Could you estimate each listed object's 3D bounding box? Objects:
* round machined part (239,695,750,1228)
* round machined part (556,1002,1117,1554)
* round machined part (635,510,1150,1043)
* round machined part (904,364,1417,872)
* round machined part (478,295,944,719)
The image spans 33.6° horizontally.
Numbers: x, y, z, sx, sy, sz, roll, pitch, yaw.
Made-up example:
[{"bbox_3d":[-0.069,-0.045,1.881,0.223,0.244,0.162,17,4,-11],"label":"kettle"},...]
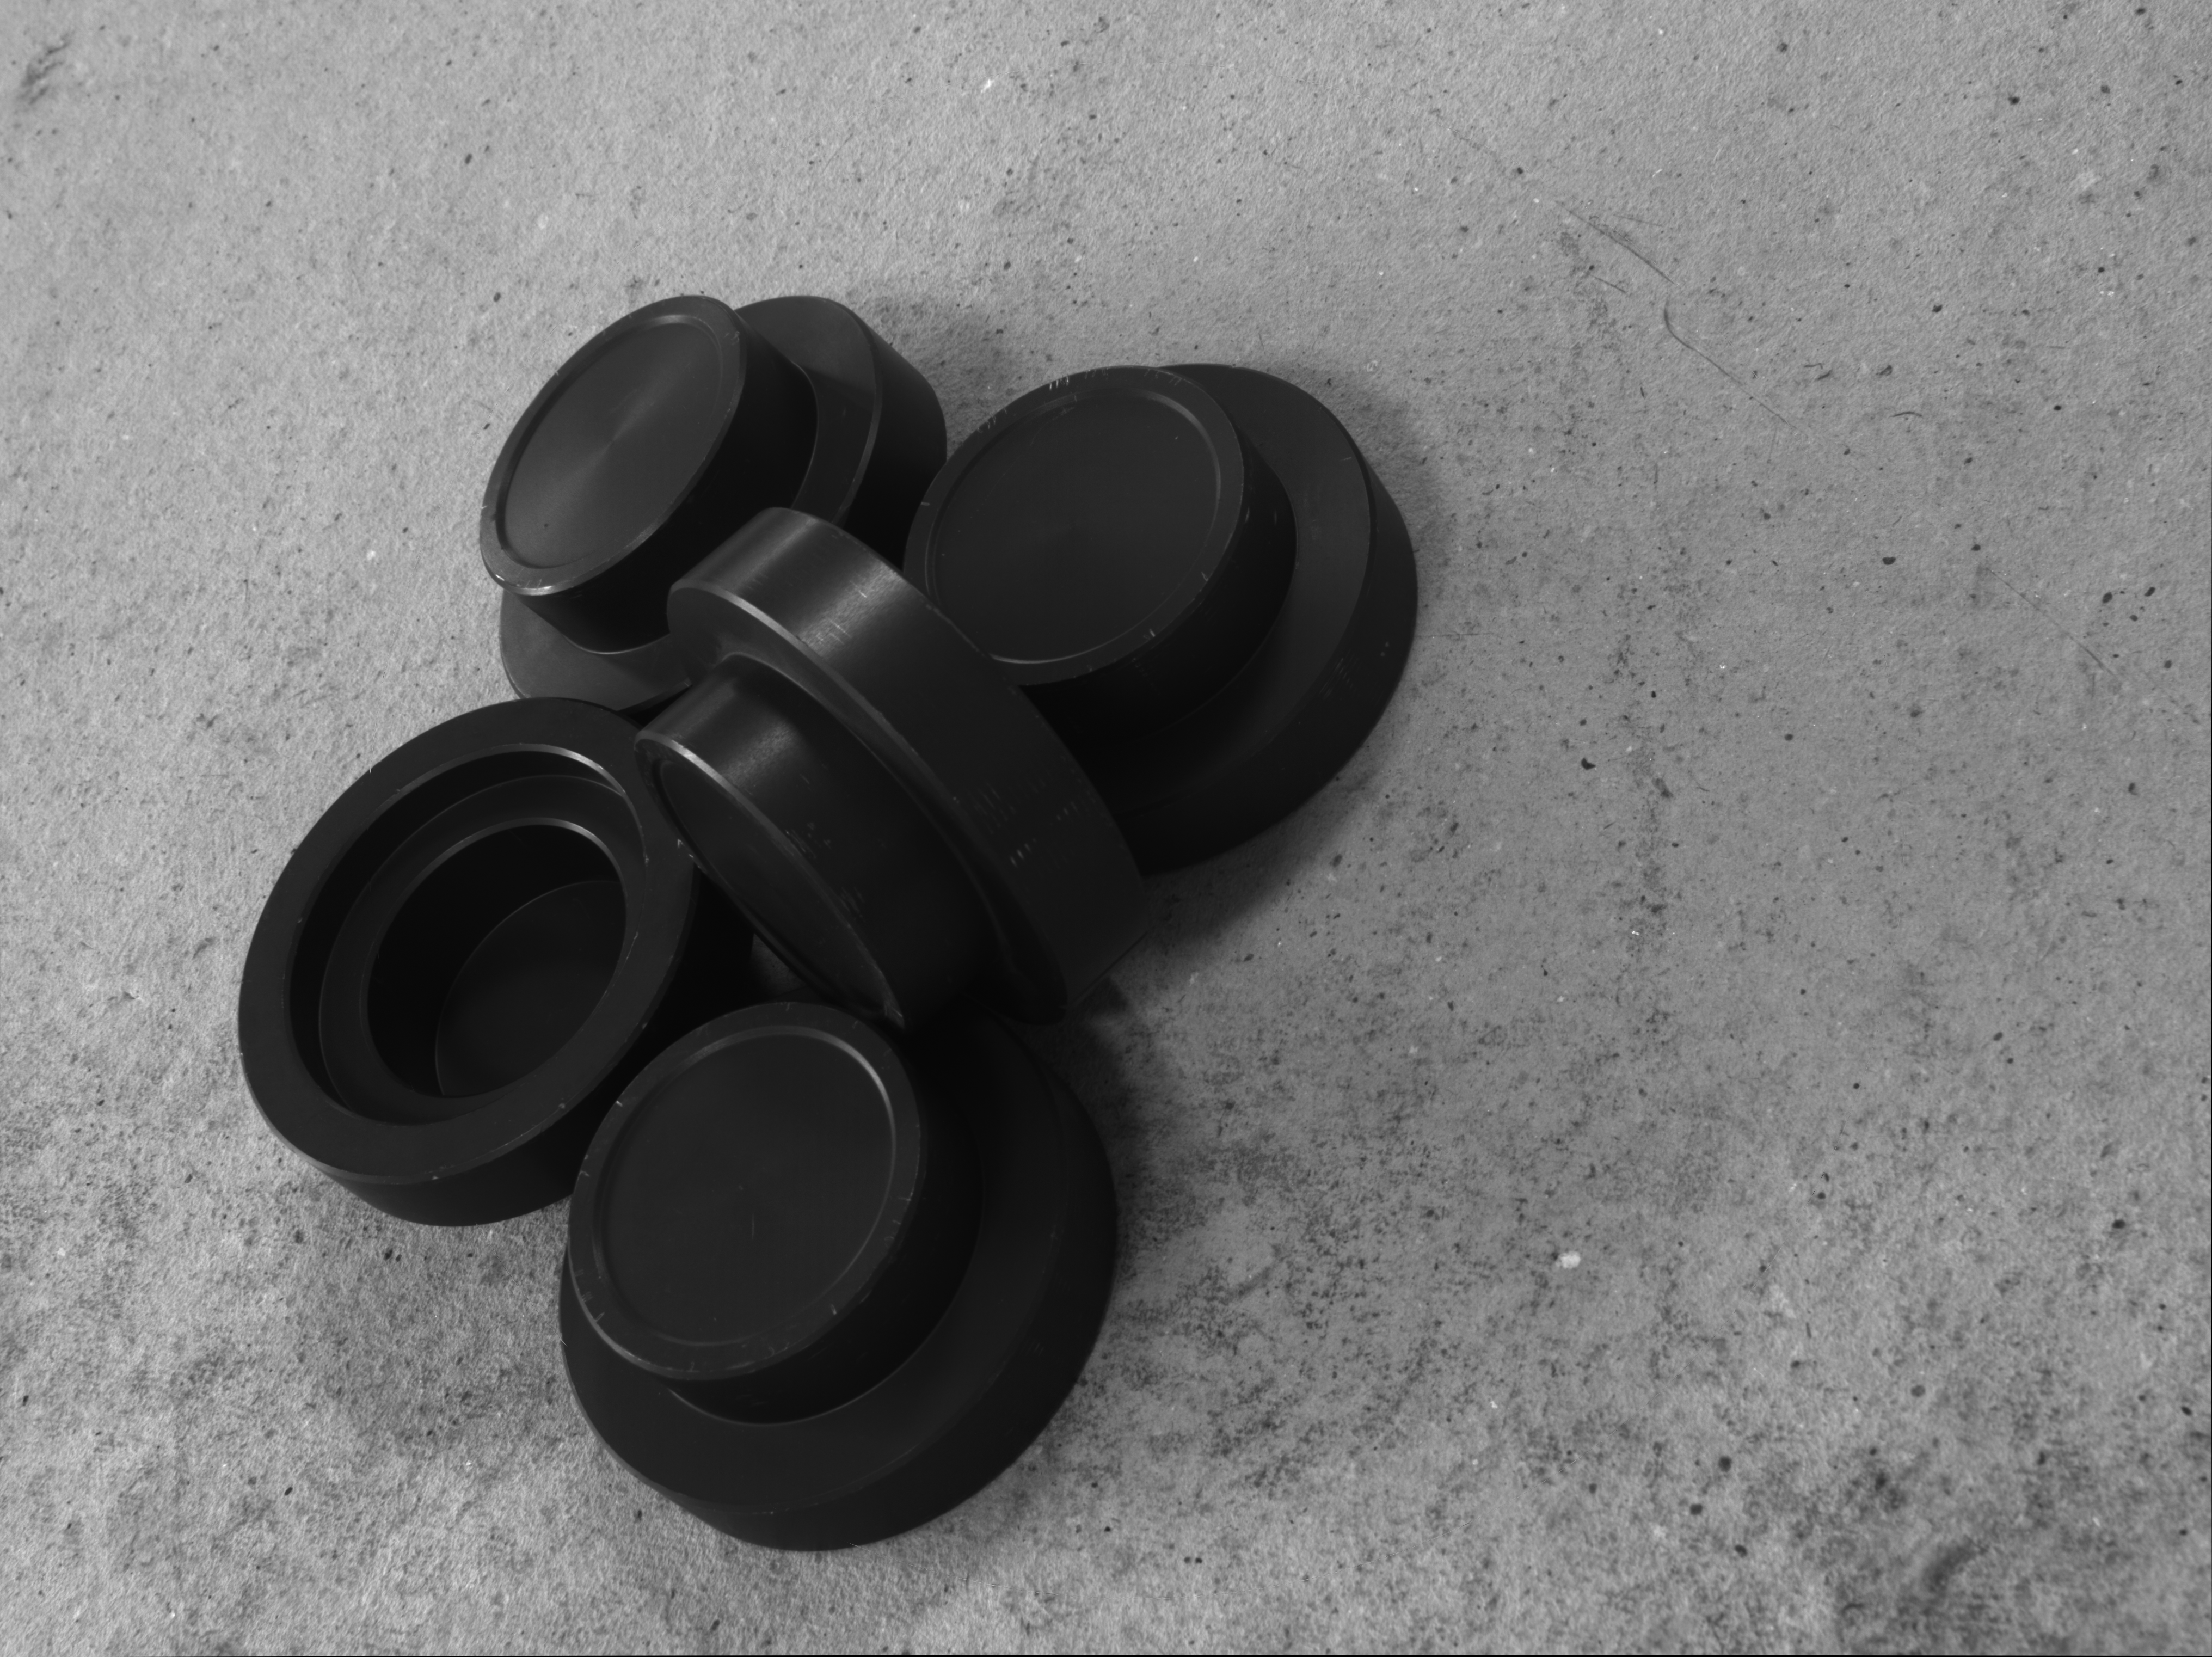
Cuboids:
[{"bbox_3d":[-0.107,0.028,0.674,0.098,0.042,0.098,-13,57,22],"label":"round machined part"},{"bbox_3d":[-0.051,0.069,0.619,0.098,0.042,0.098,-13,54,20],"label":"round machined part"},{"bbox_3d":[-0.041,-0.002,0.618,0.042,0.098,0.098,-42,49,-18],"label":"round machined part"},{"bbox_3d":[0.003,-0.044,0.659,0.098,0.042,0.098,-13,55,20],"label":"round machined part"},{"bbox_3d":[-0.082,-0.062,0.703,0.098,0.042,0.098,-25,45,28],"label":"round machined part"}]
